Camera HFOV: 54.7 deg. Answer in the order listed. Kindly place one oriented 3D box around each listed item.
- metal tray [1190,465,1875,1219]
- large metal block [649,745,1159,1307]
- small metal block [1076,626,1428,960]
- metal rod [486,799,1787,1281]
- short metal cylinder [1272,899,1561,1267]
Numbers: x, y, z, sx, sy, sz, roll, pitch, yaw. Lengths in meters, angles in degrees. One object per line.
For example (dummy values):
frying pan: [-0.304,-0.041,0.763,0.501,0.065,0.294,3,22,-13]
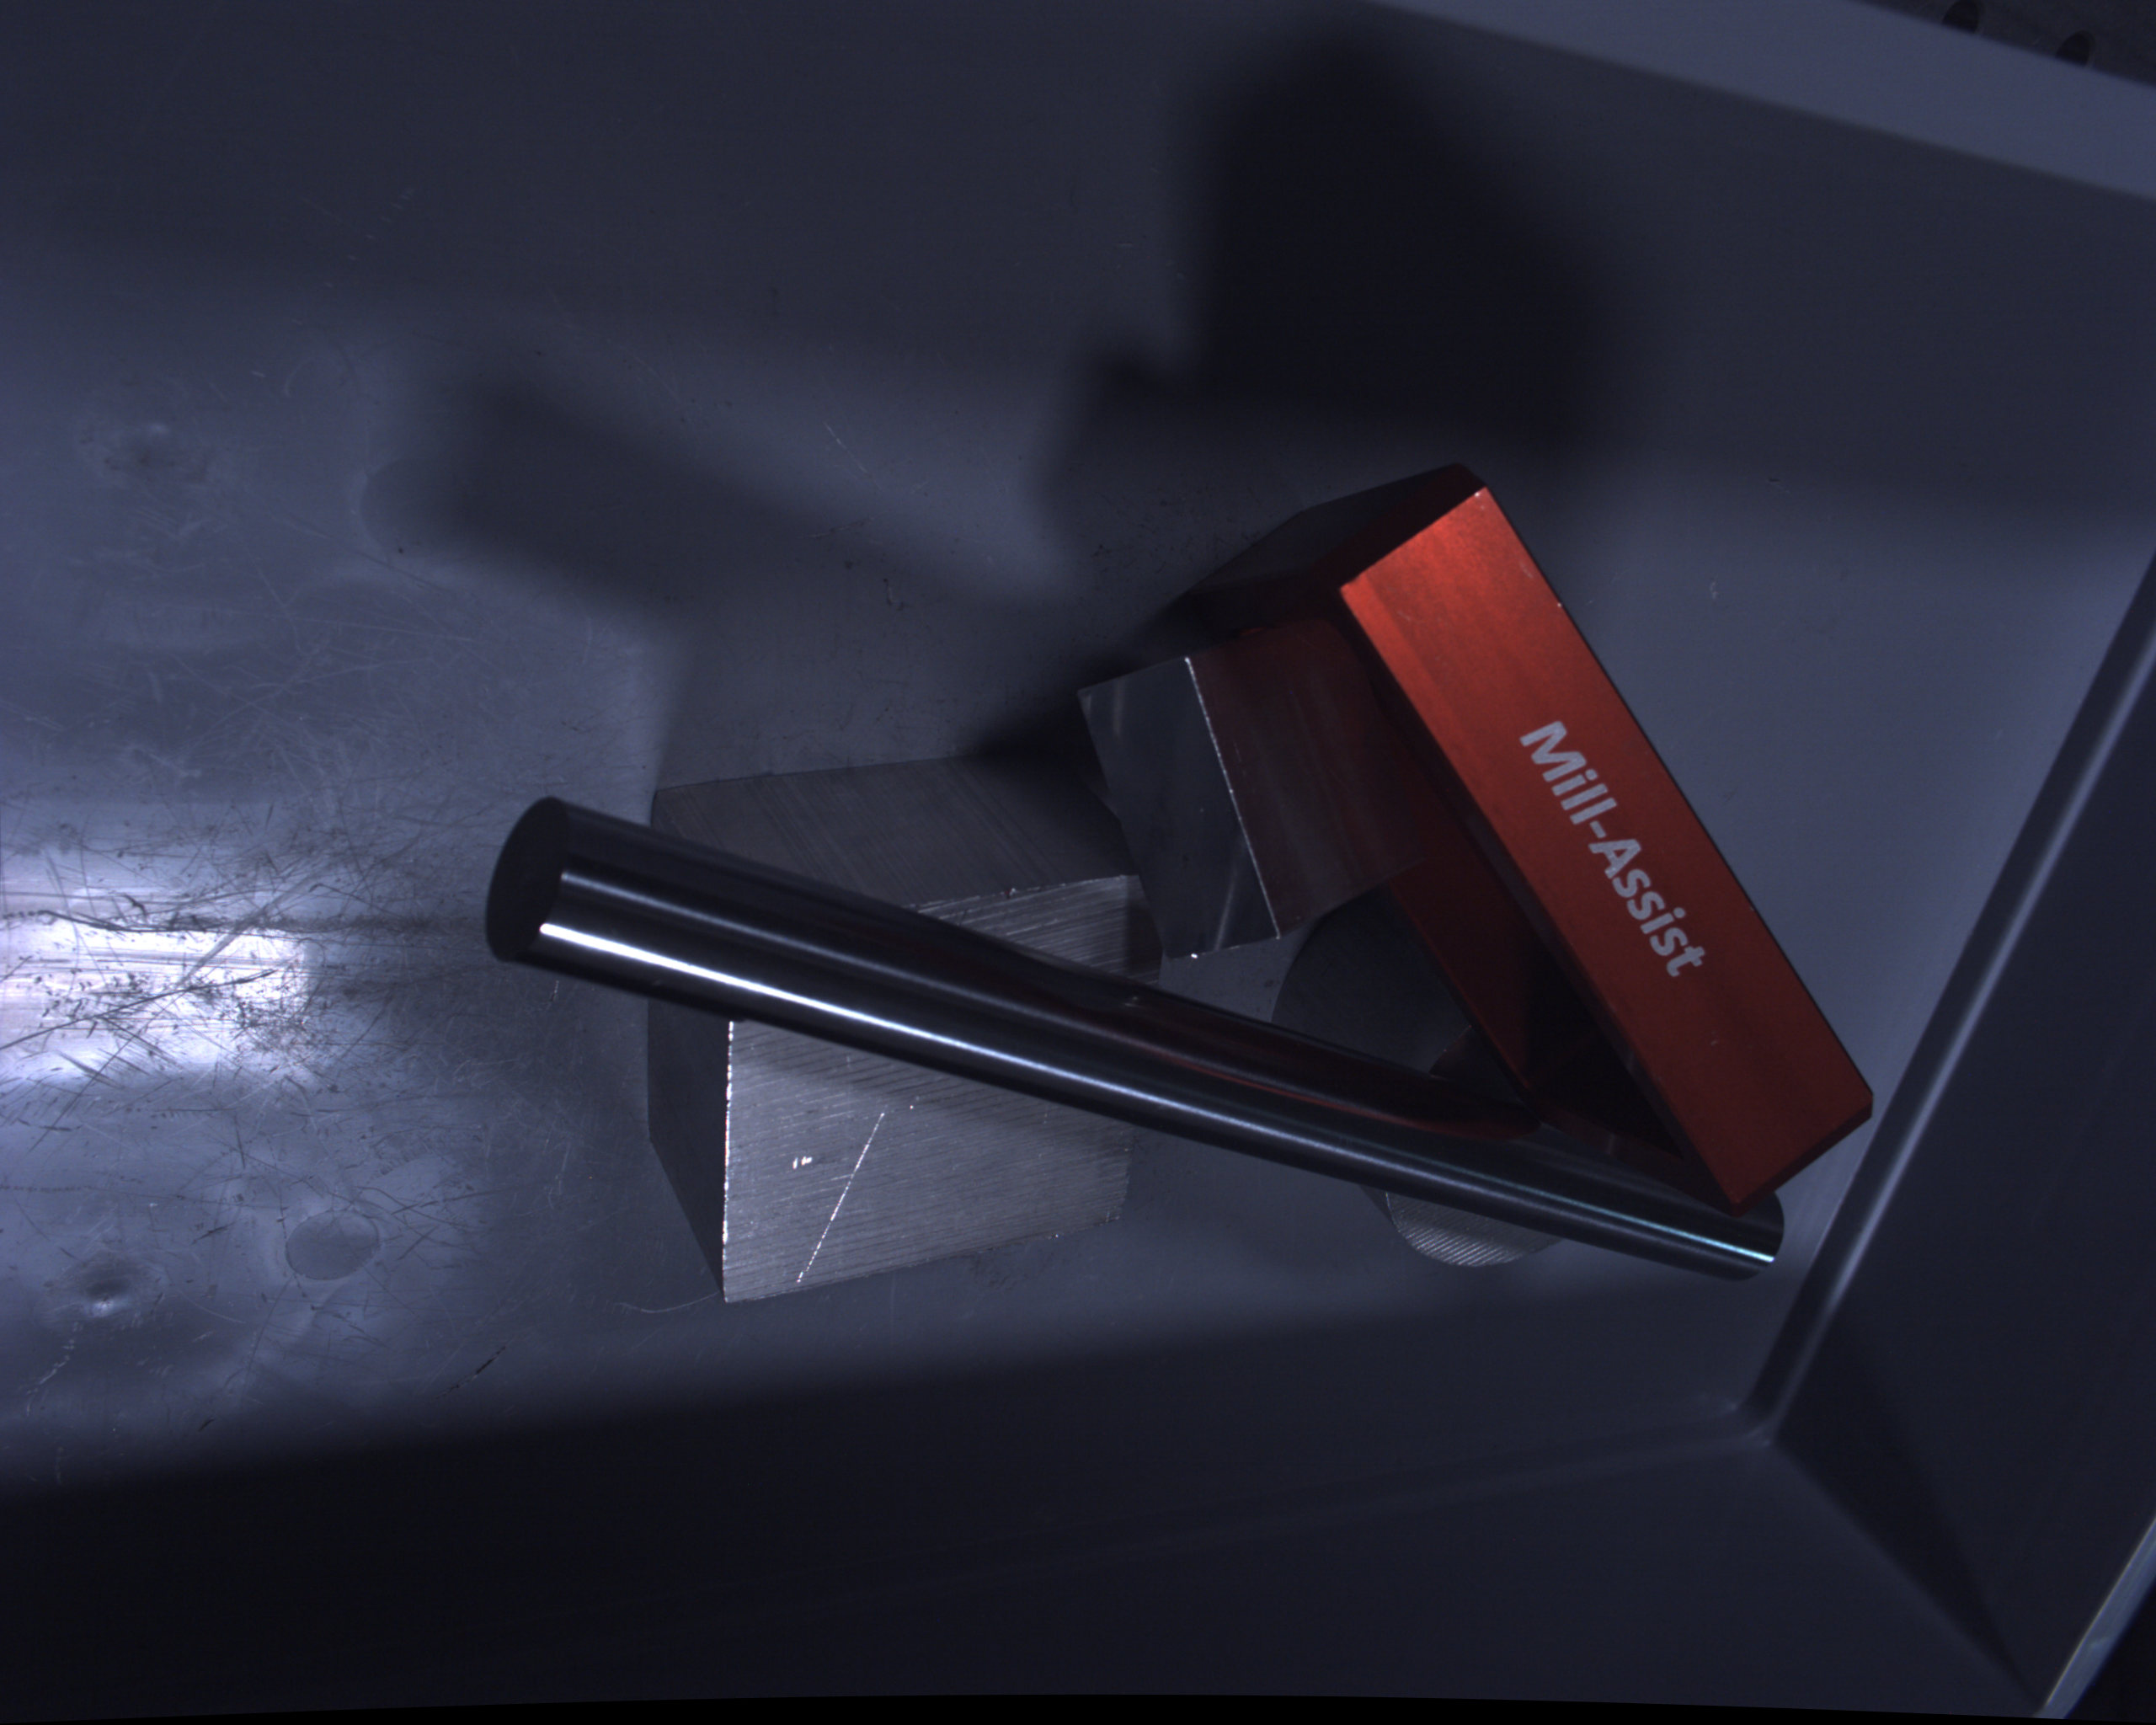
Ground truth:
metal tray: [0.077,-0.005,0.374,0.030,0.090,0.130,-36,100,-6]
large metal block: [-0.034,0.028,0.391,0.081,0.050,0.079,-8,122,-25]
small metal block: [0.032,-0.015,0.373,0.050,0.025,0.050,-23,96,-48]
metal rod: [0.036,0.043,0.389,0.302,0.025,0.025,19,108,-36]
short metal cylinder: [0.090,0.043,0.469,0.081,0.050,0.079,-14,125,-21]
